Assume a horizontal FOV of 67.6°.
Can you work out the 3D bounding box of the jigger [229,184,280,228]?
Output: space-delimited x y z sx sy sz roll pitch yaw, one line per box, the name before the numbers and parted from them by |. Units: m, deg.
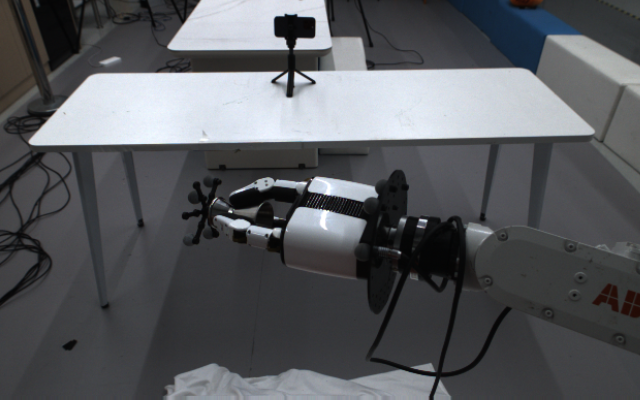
jigger | -0.091 0.017 0.592 0.071 0.043 0.043 7 34 23
